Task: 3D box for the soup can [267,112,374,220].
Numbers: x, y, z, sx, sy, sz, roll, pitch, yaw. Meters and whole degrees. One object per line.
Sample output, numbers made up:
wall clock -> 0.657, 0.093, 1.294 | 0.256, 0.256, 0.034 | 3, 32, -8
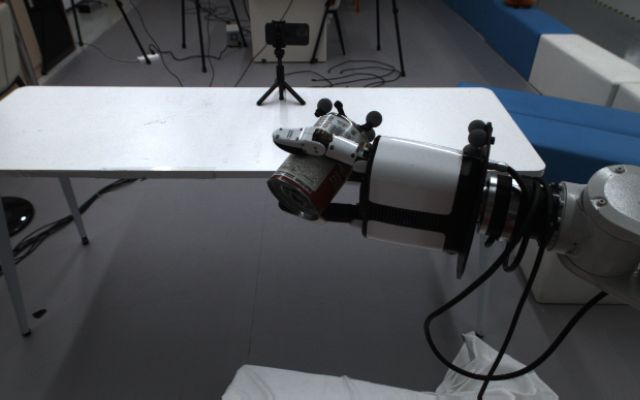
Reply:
soup can -> 0.000, -0.039, 0.529 | 0.067, 0.067, 0.101 | 25, 67, 29
